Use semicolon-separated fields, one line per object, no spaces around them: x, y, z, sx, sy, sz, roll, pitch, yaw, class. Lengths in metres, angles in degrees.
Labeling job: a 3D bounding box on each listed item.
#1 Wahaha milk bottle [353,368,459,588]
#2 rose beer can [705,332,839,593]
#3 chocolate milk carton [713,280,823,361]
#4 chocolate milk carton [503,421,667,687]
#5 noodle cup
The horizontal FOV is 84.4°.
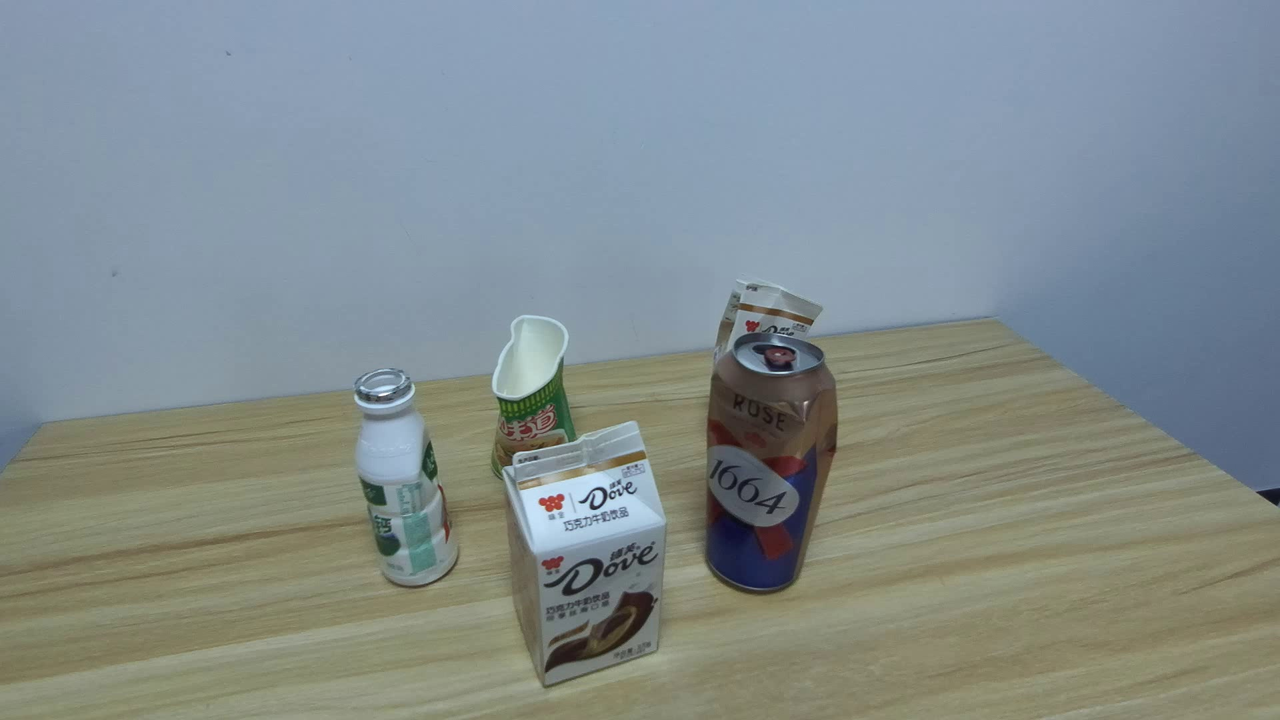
-0.150;0.076;0.451;0.056;0.148;0.056;0;28;0;Wahaha milk bottle
0.081;0.067;0.447;0.065;0.167;0.075;-17;31;-32;rose beer can
0.101;0.001;0.566;0.076;0.156;0.073;-2;33;-2;chocolate milk carton
-0.033;0.101;0.404;0.075;0.148;0.073;-10;33;-20;chocolate milk carton
-0.085;0.041;0.550;0.070;0.111;0.115;8;29;18;noodle cup
